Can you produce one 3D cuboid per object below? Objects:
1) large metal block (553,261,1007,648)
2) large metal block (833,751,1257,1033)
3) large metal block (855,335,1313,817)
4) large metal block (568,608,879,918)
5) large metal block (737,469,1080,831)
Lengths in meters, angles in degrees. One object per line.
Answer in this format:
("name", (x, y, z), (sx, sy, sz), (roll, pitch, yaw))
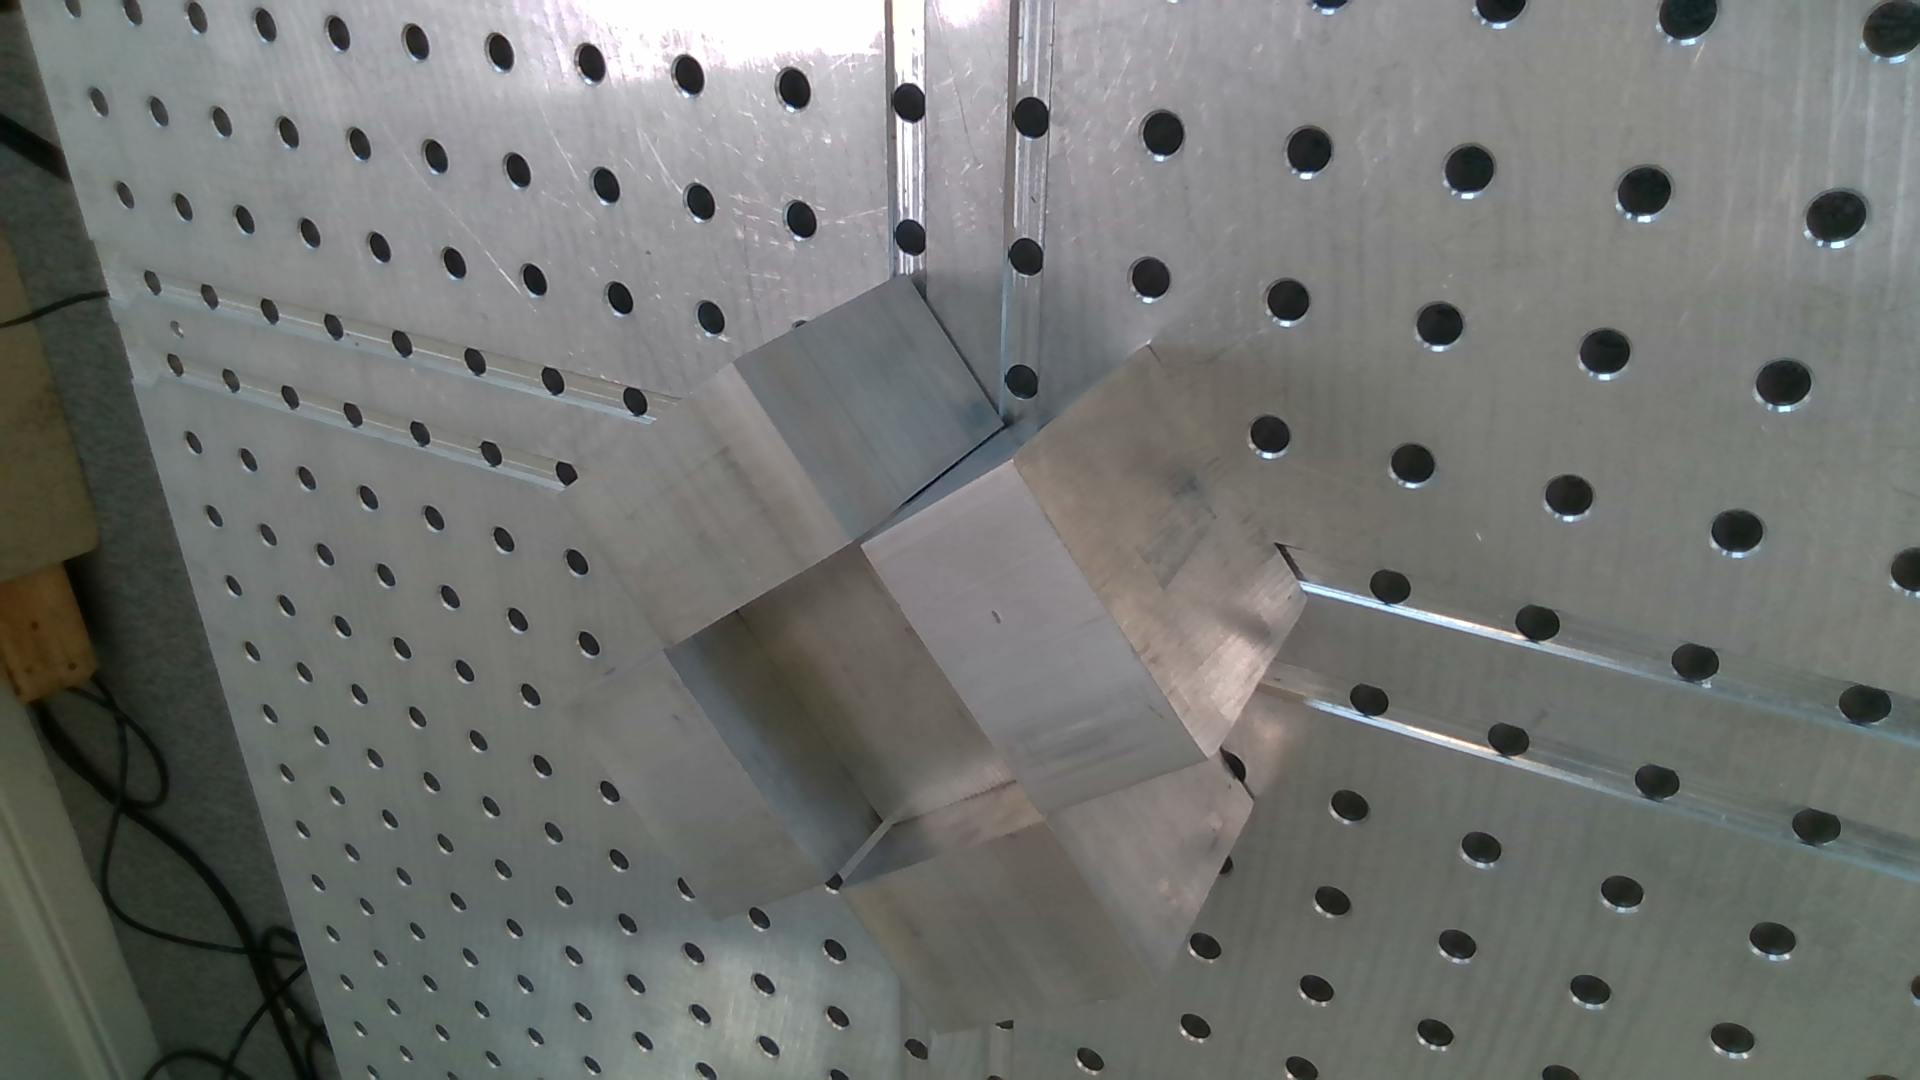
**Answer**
("large metal block", (-0.047, -0.023, 0.372), (0.080, 0.080, 0.050), (-29, 98, 39))
("large metal block", (0.025, 0.085, 0.387), (0.080, 0.080, 0.050), (-29, 98, 39))
("large metal block", (0.034, 0.007, 0.339), (0.050, 0.080, 0.080), (-29, 98, 39))
("large metal block", (-0.056, 0.054, 0.422), (0.050, 0.080, 0.080), (-27, 99, 39))
("large metal block", (-0.005, 0.026, 0.391), (0.080, 0.050, 0.080), (-28, 96, 37))
